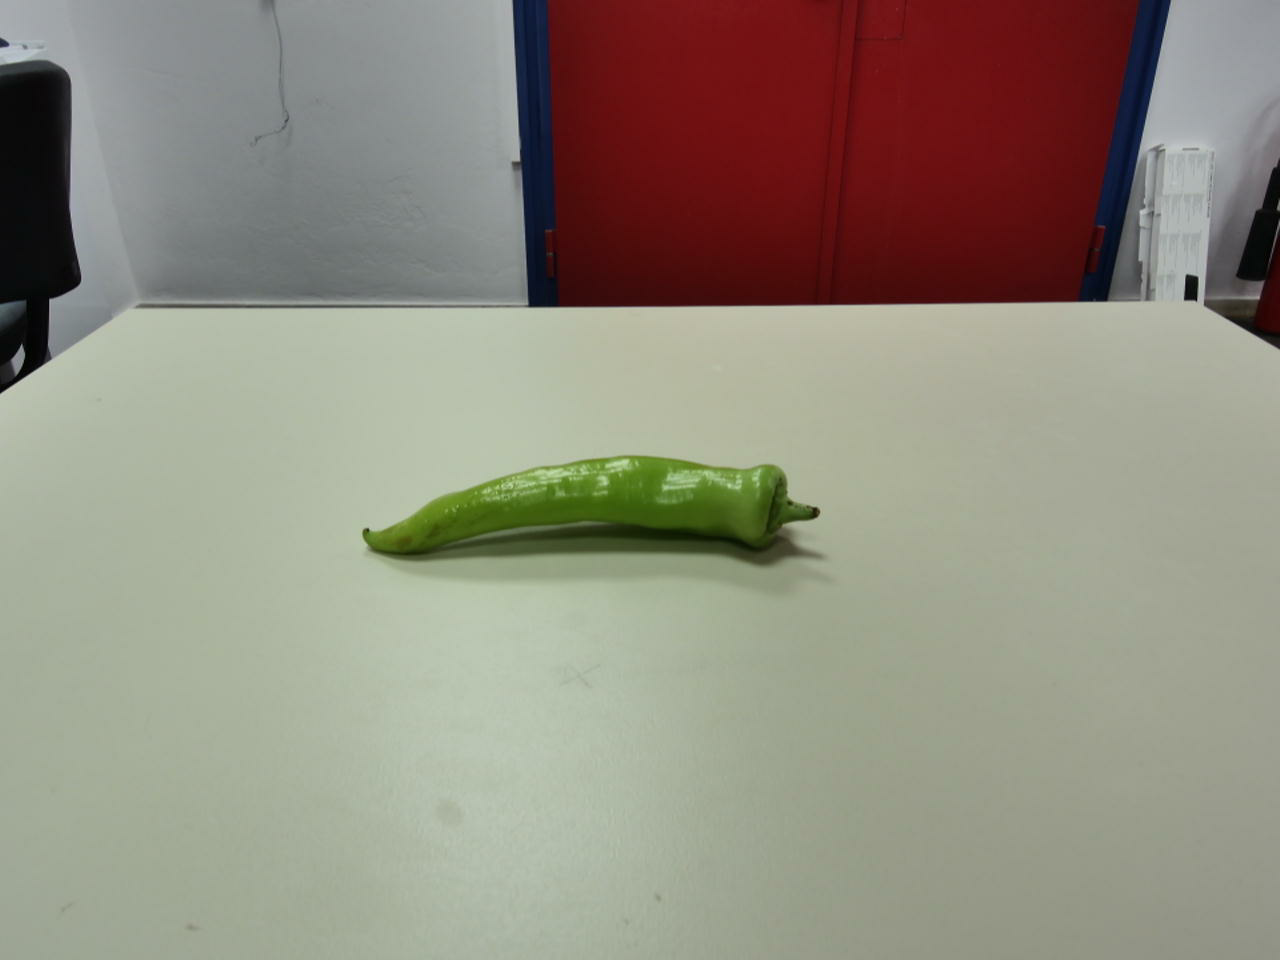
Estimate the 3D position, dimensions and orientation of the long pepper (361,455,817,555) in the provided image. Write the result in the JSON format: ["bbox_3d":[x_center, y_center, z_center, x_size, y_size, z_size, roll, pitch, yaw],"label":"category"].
[{"bbox_3d":[-0.023,0.009,0.439,0.197,0.038,0.046,1,24,2],"label":"long pepper"}]
